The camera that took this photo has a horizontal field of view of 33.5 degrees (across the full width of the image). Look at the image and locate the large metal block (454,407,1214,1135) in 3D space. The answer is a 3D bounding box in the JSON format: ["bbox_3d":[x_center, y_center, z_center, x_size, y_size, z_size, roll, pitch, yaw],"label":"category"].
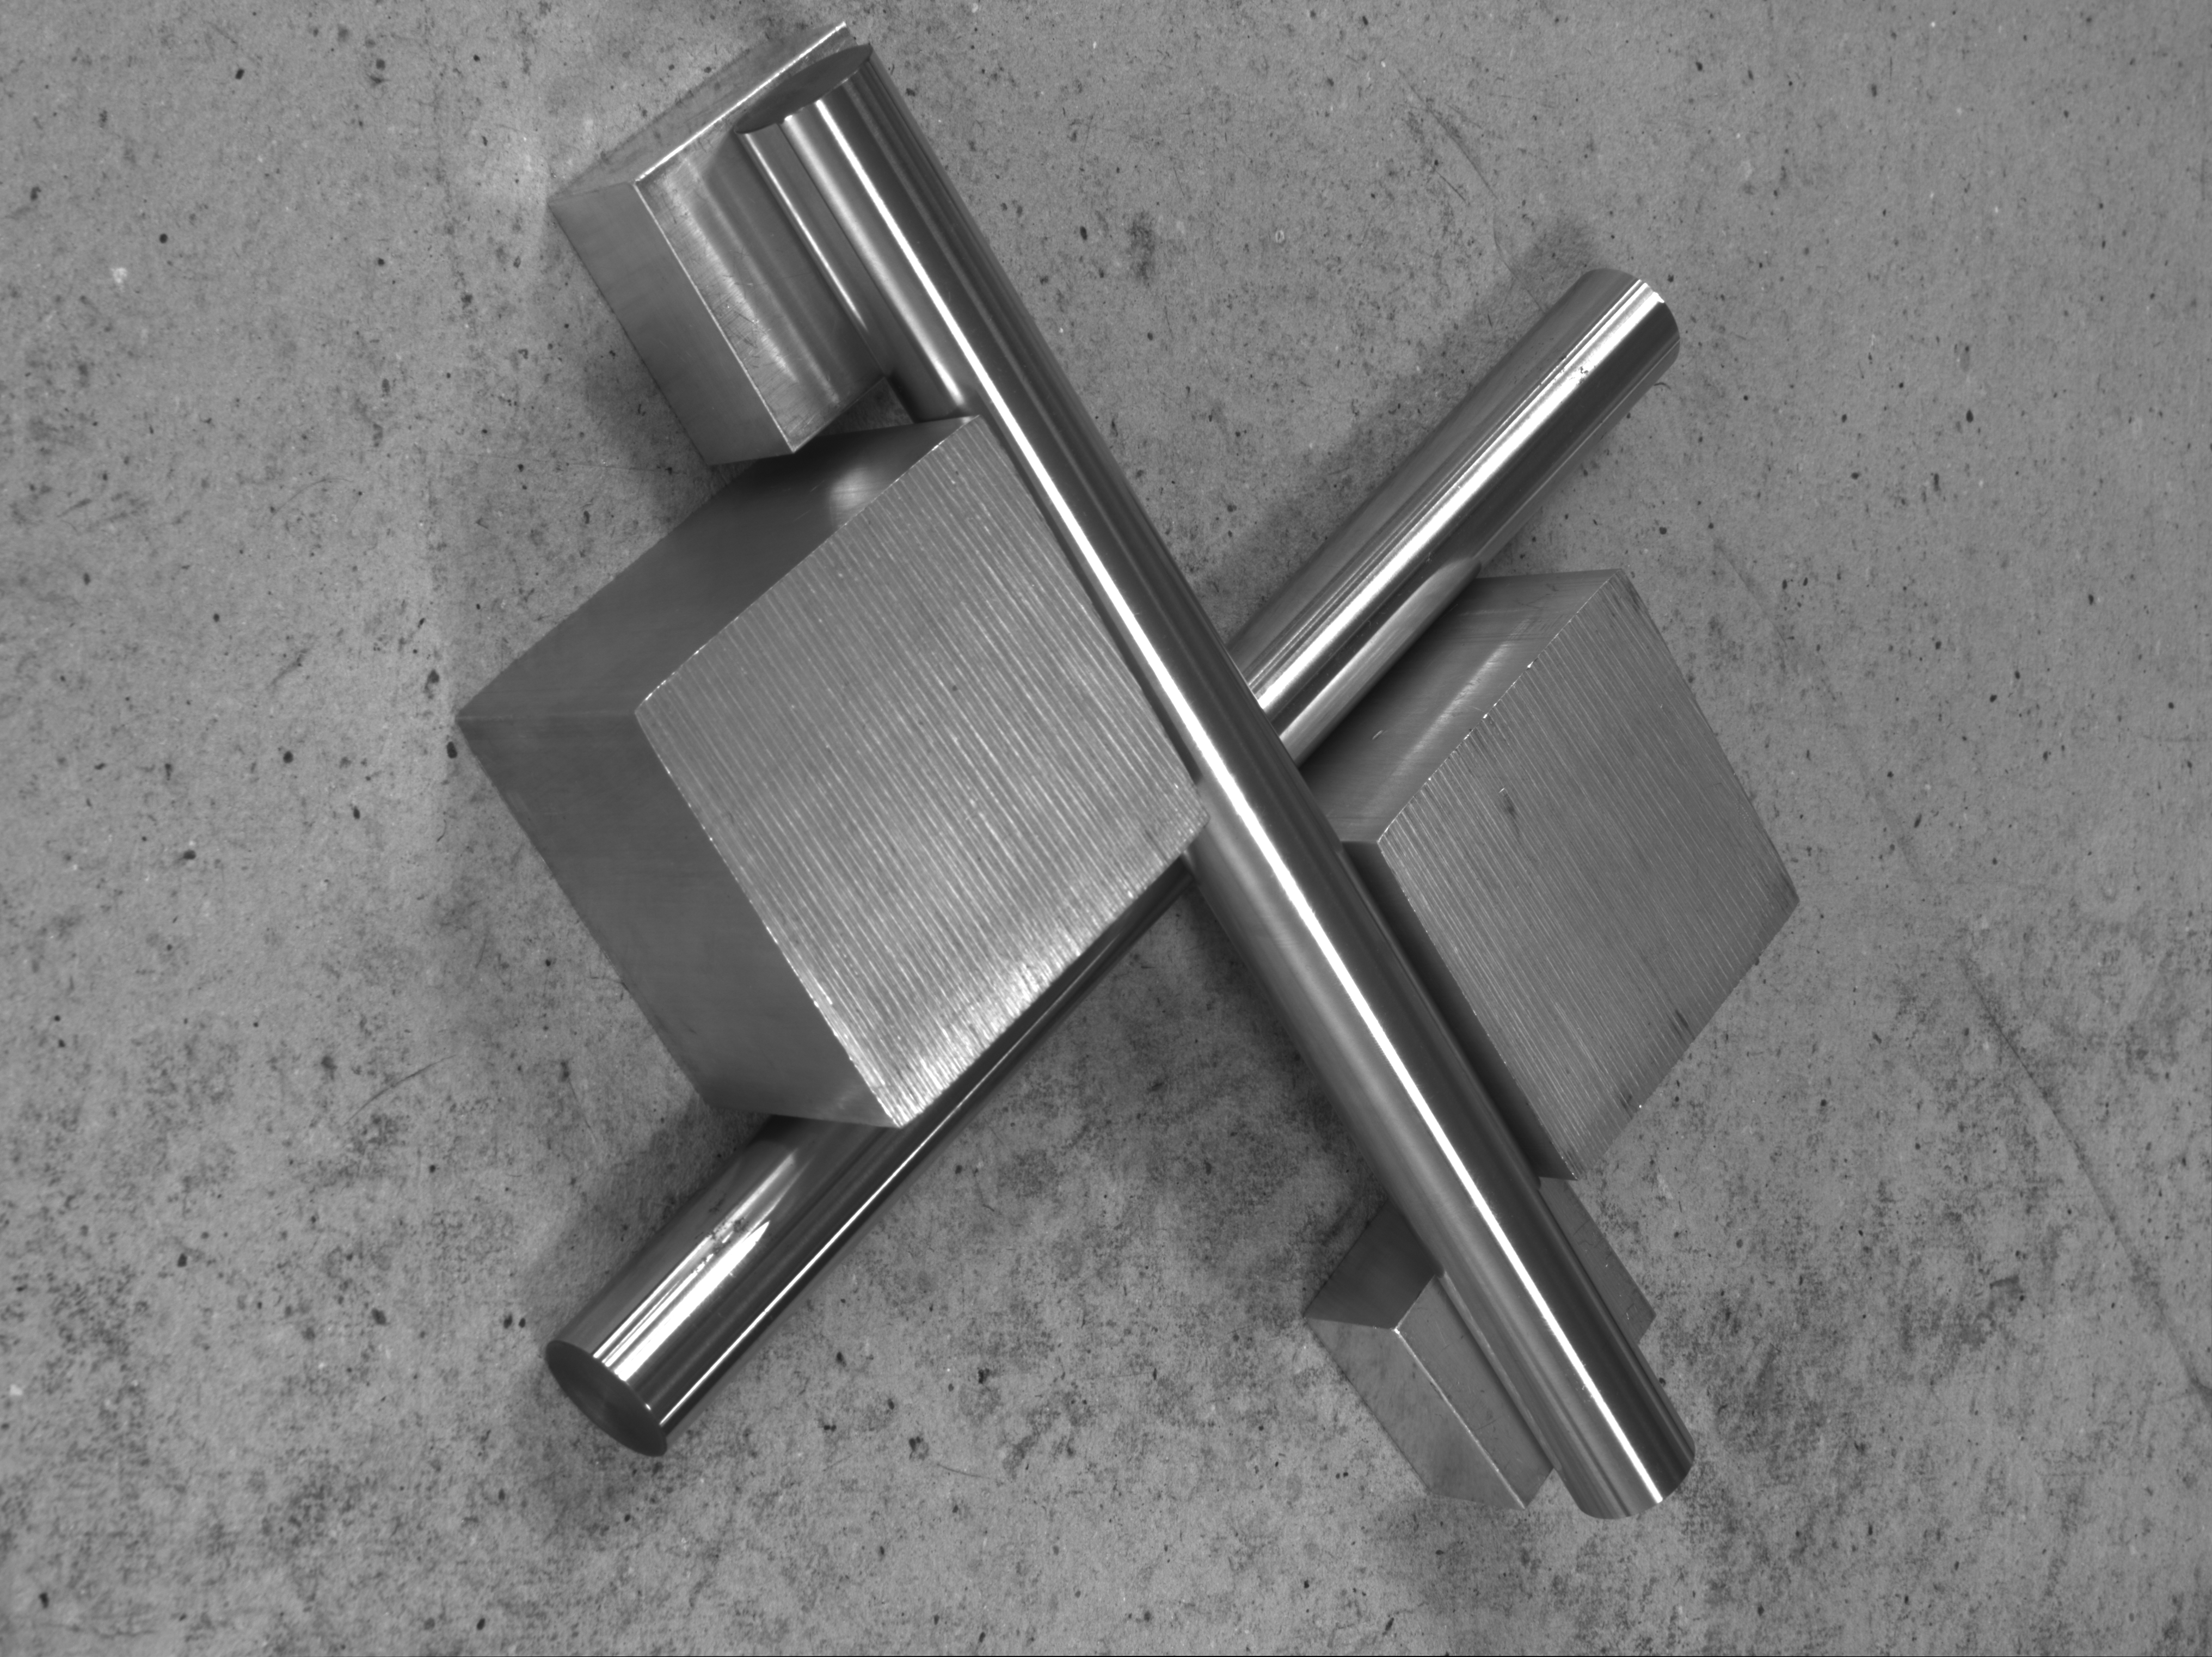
[{"bbox_3d":[-0.041,-0.009,0.584,0.080,0.050,0.080,-44,117,-31],"label":"large metal block"}]

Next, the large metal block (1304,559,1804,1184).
[{"bbox_3d":[0.073,0.007,0.681,0.080,0.050,0.080,-47,118,-30],"label":"large metal block"}]

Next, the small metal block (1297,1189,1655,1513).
[{"bbox_3d":[0.071,0.092,0.696,0.050,0.025,0.050,-51,119,-28],"label":"small metal block"}]

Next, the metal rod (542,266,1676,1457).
[{"bbox_3d":[0.011,-0.006,0.647,0.300,0.025,0.025,-46,117,-30],"label":"metal rod"}]

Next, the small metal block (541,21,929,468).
[{"bbox_3d":[-0.054,-0.094,0.593,0.050,0.025,0.050,-45,117,-31],"label":"small metal block"}]

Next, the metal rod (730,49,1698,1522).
[{"bbox_3d":[0.026,0.004,0.625,0.025,0.025,0.301,-47,118,-30],"label":"metal rod"}]
